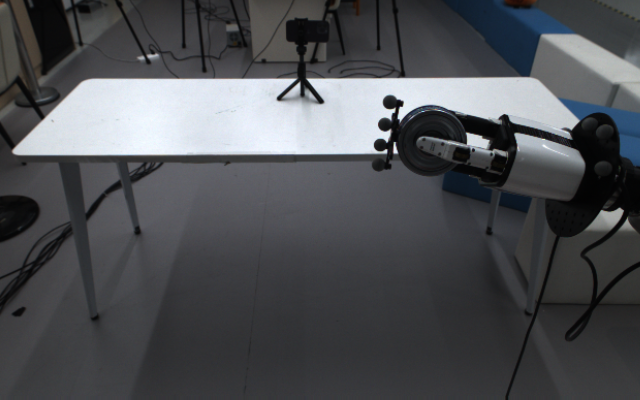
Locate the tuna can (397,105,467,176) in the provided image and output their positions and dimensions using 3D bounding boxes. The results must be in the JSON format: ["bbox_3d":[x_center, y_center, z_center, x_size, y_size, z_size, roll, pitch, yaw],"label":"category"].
[{"bbox_3d":[0.140,-0.076,0.608,0.085,0.085,0.034,4,17,3],"label":"tuna can"}]
